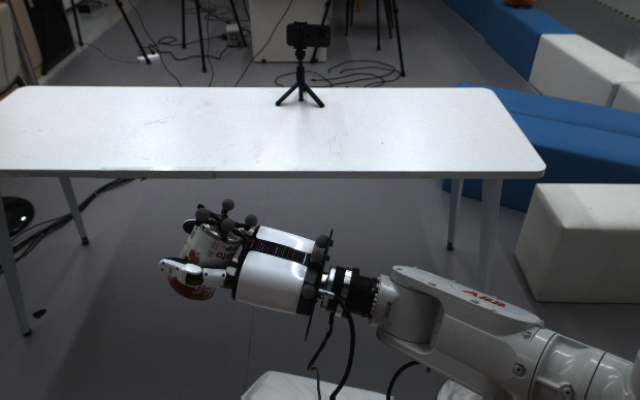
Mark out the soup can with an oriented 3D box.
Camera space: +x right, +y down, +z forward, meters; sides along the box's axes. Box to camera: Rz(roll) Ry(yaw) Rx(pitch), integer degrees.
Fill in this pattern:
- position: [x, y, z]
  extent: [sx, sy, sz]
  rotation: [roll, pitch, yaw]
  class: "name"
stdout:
- position: [-0.155, 0.077, 0.658]
  extent: [0.067, 0.101, 0.067]
  rotation: [28, 18, -10]
  class: "soup can"
